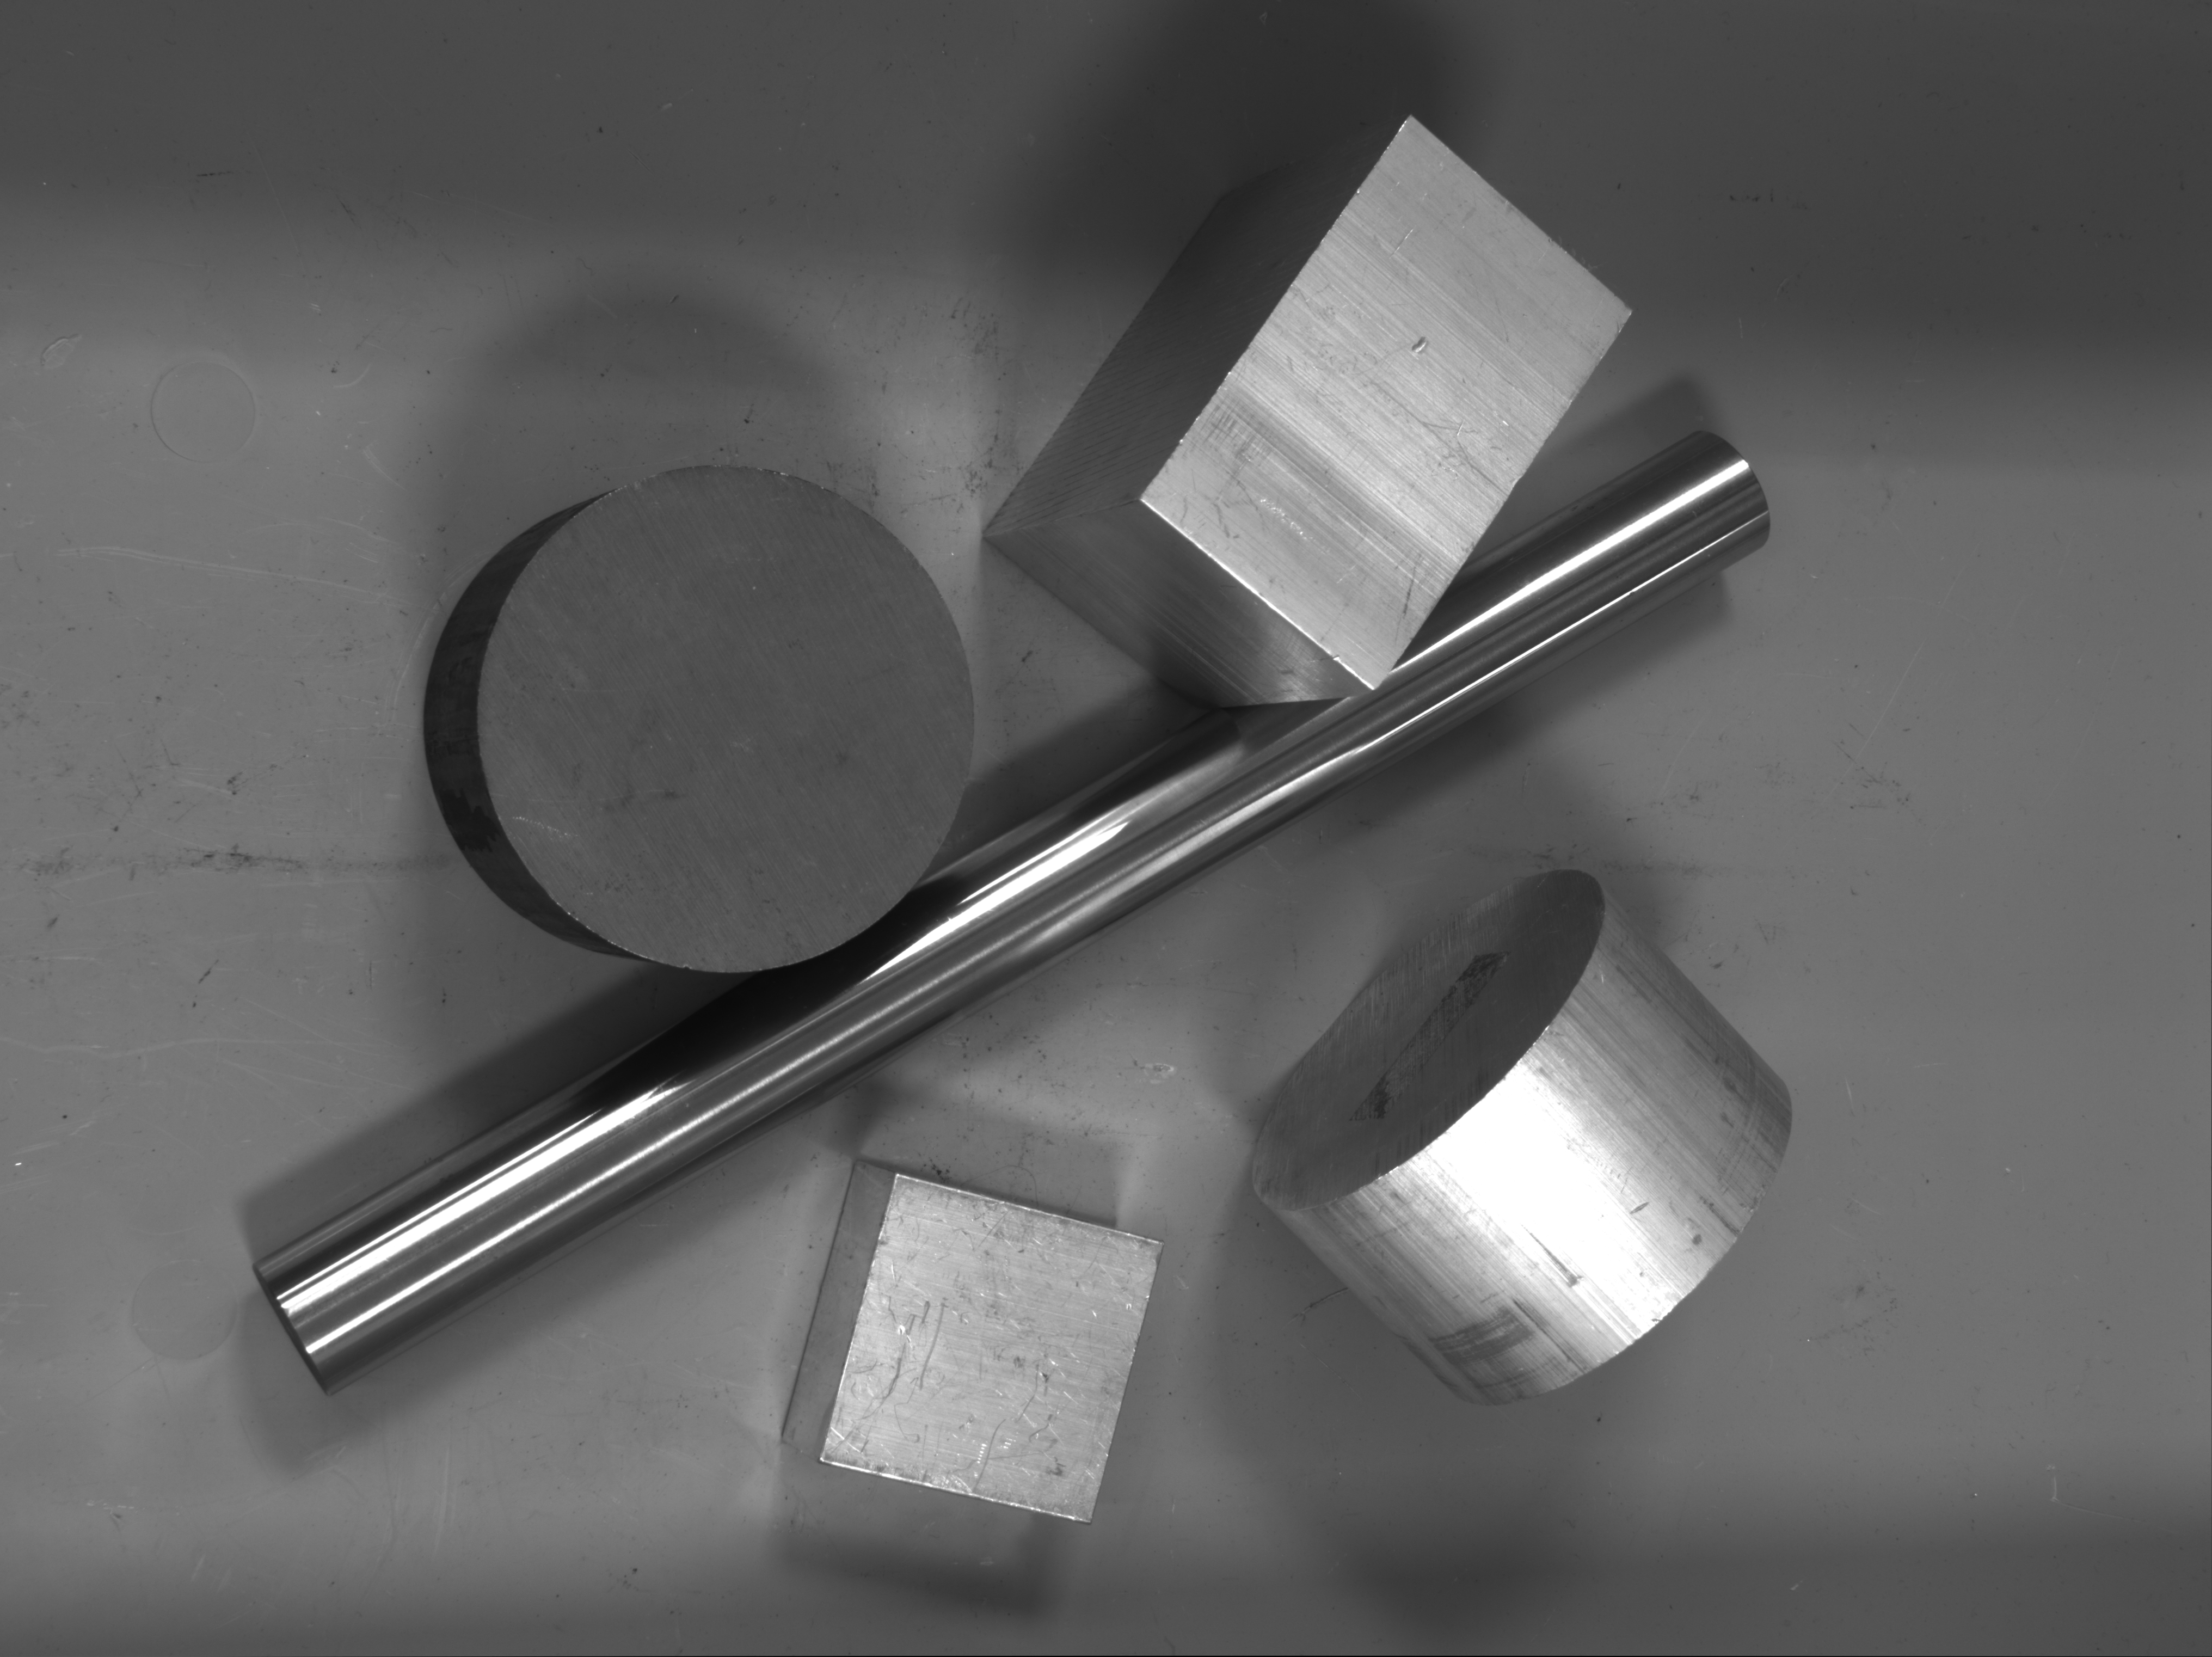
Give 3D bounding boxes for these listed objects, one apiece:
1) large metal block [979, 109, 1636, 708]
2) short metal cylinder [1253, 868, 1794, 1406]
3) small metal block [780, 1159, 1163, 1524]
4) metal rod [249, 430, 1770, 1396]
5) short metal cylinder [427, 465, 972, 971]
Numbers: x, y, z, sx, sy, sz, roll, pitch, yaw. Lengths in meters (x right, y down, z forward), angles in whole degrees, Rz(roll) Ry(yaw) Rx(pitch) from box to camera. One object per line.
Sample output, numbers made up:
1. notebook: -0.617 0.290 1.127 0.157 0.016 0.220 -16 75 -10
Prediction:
1. large metal block: 0.032 -0.068 0.625 0.050 0.080 0.080 38 78 -16
2. short metal cylinder: 0.072 0.053 0.639 0.050 0.080 0.080 45 76 -14
3. small metal block: -0.023 0.088 0.634 0.050 0.025 0.050 16 85 -19
4. metal rod: -0.008 0.009 0.639 0.300 0.025 0.025 -30 100 -17
5. short metal cylinder: -0.068 -0.017 0.604 0.080 0.050 0.080 0 90 -20
